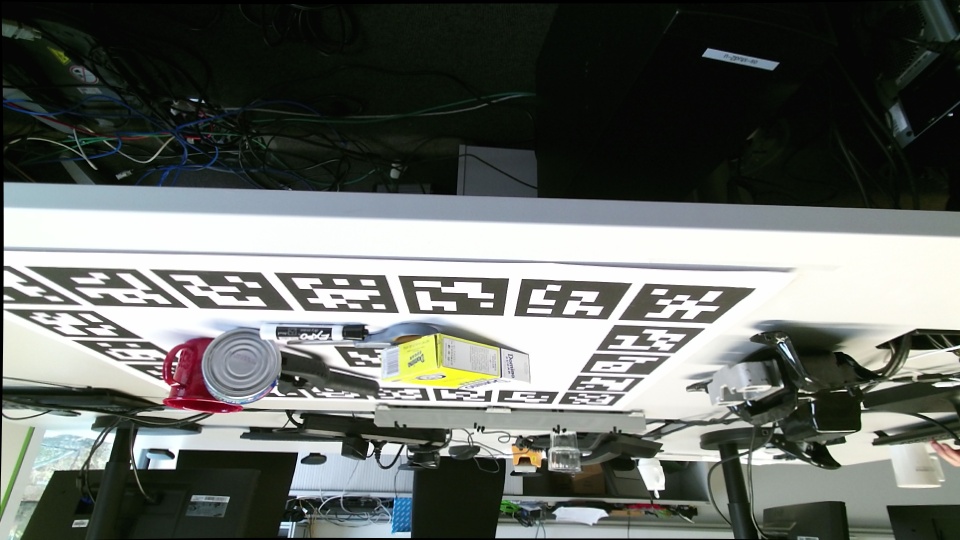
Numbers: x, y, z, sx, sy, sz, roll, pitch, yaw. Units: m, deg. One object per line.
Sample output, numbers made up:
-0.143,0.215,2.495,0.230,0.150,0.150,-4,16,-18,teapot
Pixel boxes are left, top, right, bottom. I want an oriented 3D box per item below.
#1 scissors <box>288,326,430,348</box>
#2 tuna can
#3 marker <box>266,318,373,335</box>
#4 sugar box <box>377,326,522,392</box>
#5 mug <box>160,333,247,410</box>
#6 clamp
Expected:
-0.139,0.088,0.653,0.203,0.016,0.088,-2,155,10,scissors
-0.288,0.107,0.633,0.086,0.085,0.034,10,151,-15,tuna can
-0.184,0.065,0.618,0.121,0.019,0.020,0,151,3,marker
-0.032,0.116,0.666,0.093,0.045,0.177,-18,152,32,sugar box
-0.348,0.126,0.682,0.093,0.081,0.117,-12,152,24,mug
-0.258,0.147,0.776,0.166,0.036,0.203,-3,150,9,clamp
